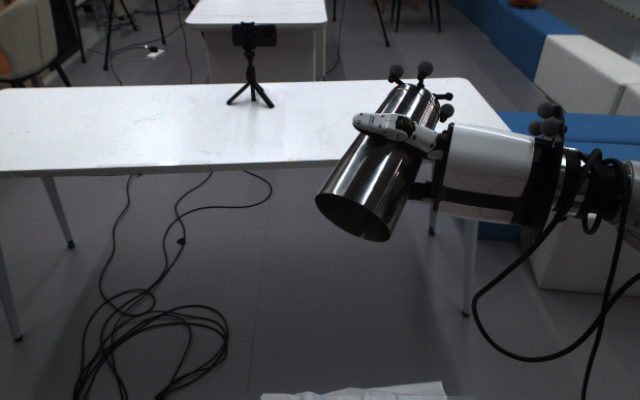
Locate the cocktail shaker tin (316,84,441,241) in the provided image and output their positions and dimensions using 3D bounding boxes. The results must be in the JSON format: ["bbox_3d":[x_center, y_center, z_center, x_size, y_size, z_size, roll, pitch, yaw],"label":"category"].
[{"bbox_3d":[0.077,-0.051,0.550,0.093,0.093,0.170,20,67,24],"label":"cocktail shaker tin"}]
